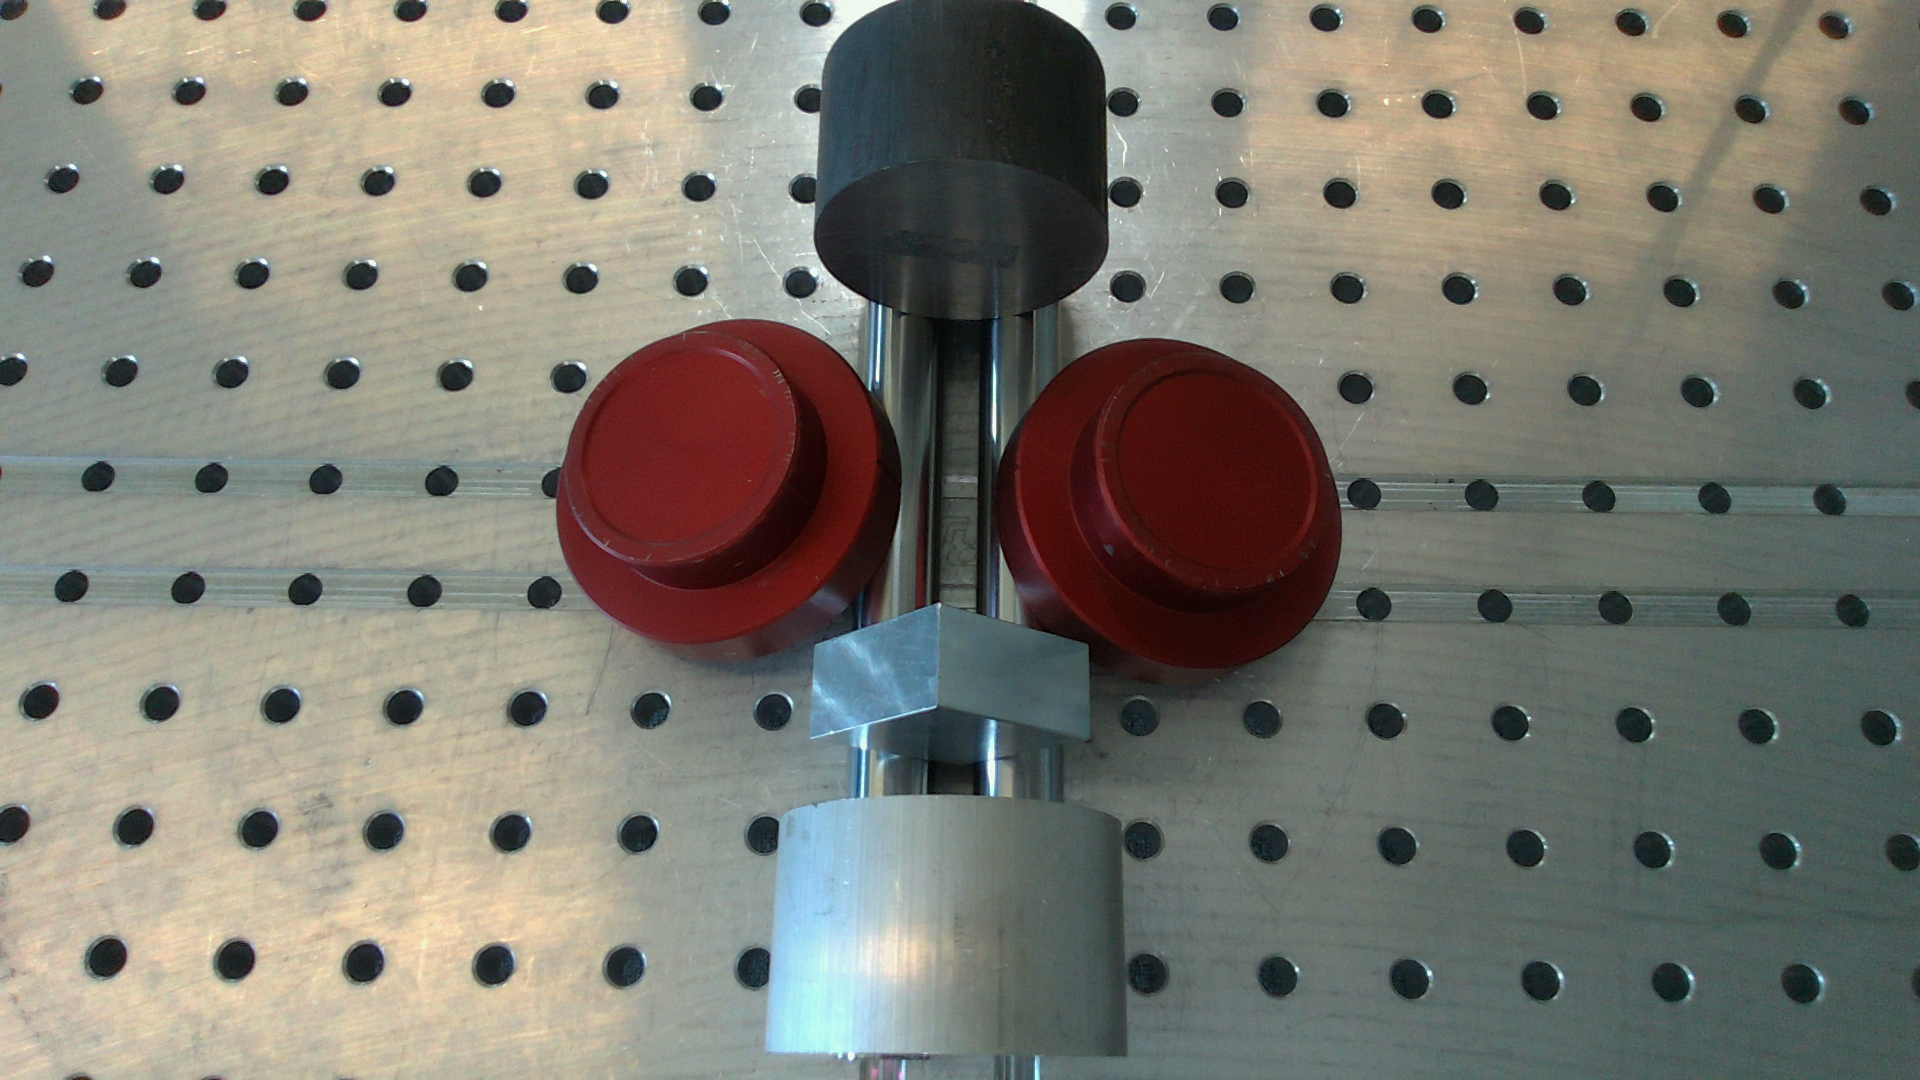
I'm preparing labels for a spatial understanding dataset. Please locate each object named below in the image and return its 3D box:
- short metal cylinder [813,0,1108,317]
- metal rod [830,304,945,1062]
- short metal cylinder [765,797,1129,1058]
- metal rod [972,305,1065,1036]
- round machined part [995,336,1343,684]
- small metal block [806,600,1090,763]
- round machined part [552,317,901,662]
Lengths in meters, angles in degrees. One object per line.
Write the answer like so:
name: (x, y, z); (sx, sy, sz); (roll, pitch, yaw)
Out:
short metal cylinder: (0.001, -0.104, 0.382); (0.080, 0.080, 0.050); (1, 70, 0)
metal rod: (-0.018, -0.009, 0.399); (0.025, 0.025, 0.300); (1, 70, 0)
short metal cylinder: (-0.003, 0.090, 0.312); (0.080, 0.080, 0.050); (1, 70, 0)
metal rod: (0.017, -0.011, 0.400); (0.025, 0.025, 0.300); (1, 70, 0)
round machined part: (0.062, -0.013, 0.379); (0.098, 0.042, 0.098); (5, 69, -14)
small metal block: (-0.003, 0.038, 0.345); (0.050, 0.050, 0.025); (18, 64, -38)
round machined part: (-0.069, -0.019, 0.381); (0.098, 0.042, 0.098); (-5, 69, 13)
